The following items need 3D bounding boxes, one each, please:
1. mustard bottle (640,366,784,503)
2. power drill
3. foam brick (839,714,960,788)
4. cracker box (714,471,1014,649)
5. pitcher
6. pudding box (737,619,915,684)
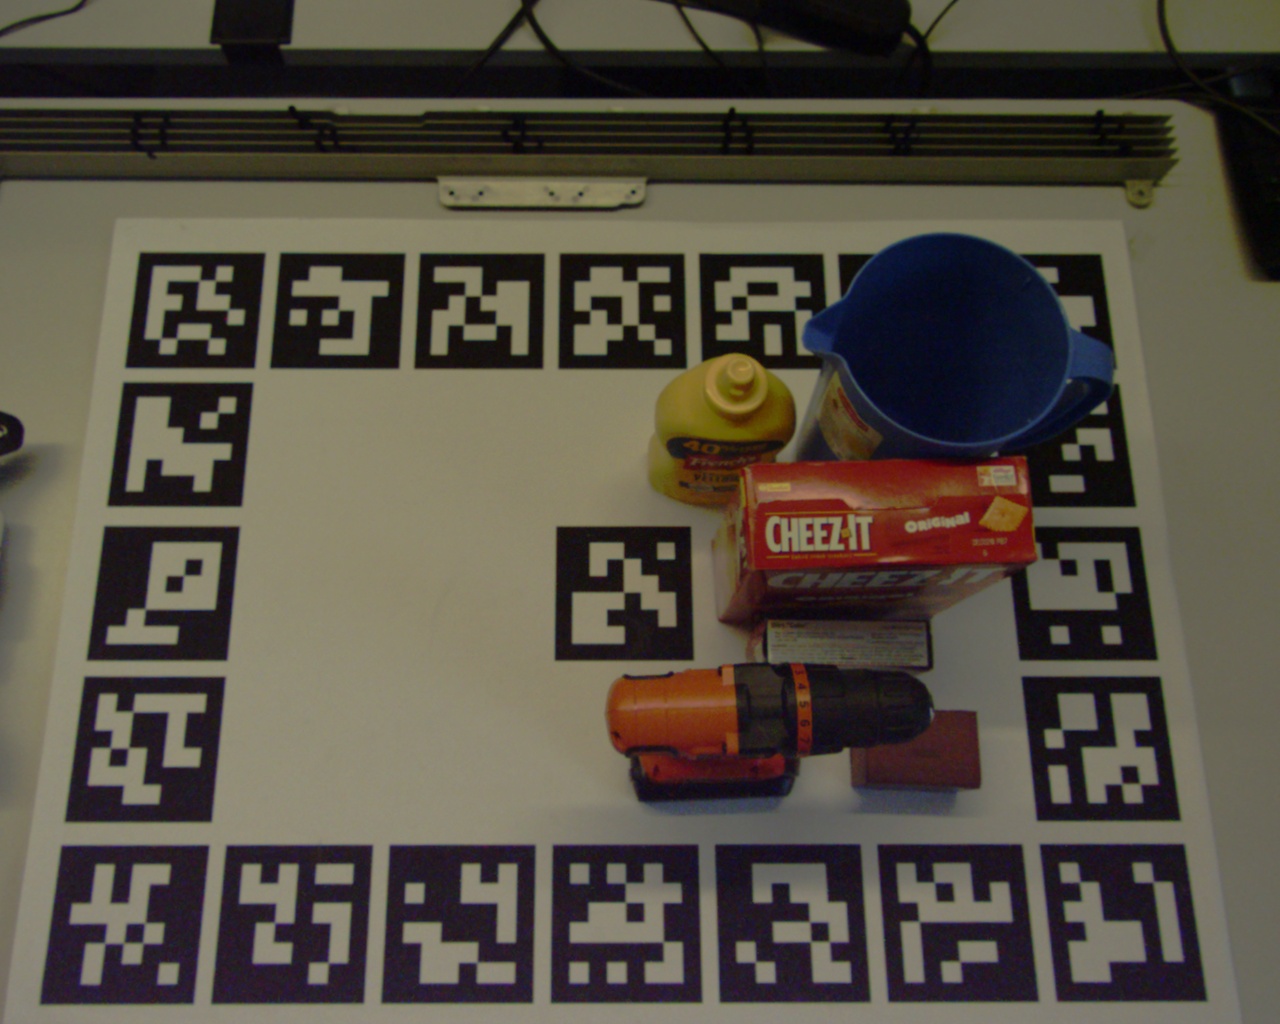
[{"bbox_3d":[0.050,-0.057,0.799,0.096,0.191,0.058,13,76,2],"label":"mustard bottle"},{"bbox_3d":[0.068,0.142,0.722,0.184,0.187,0.057,-1,72,-2],"label":"power drill"},{"bbox_3d":[0.185,0.171,0.820,0.078,0.051,0.053,2,77,0],"label":"foam brick"},{"bbox_3d":[0.137,0.040,0.766,0.164,0.213,0.072,-2,73,1],"label":"cracker box"},{"bbox_3d":[0.184,-0.060,0.788,0.189,0.242,0.133,6,75,2],"label":"pitcher"},{"bbox_3d":[0.128,0.101,0.805,0.114,0.090,0.039,1,74,2],"label":"pudding box"}]
